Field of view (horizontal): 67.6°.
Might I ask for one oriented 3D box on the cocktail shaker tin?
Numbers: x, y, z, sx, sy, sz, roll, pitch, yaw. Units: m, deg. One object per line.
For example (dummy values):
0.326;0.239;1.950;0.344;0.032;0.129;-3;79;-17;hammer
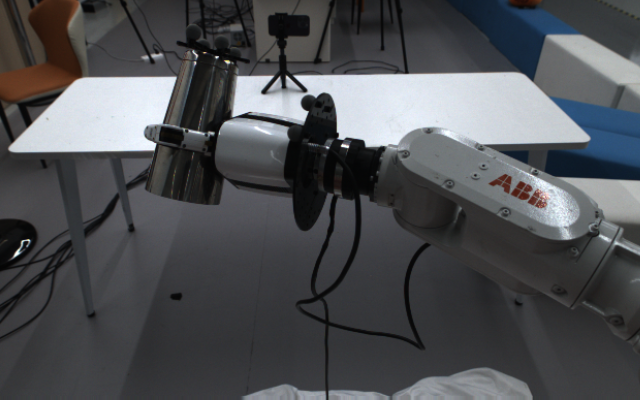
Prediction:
-0.149;-0.087;0.589;0.093;0.170;0.093;13;5;-1;cocktail shaker tin
